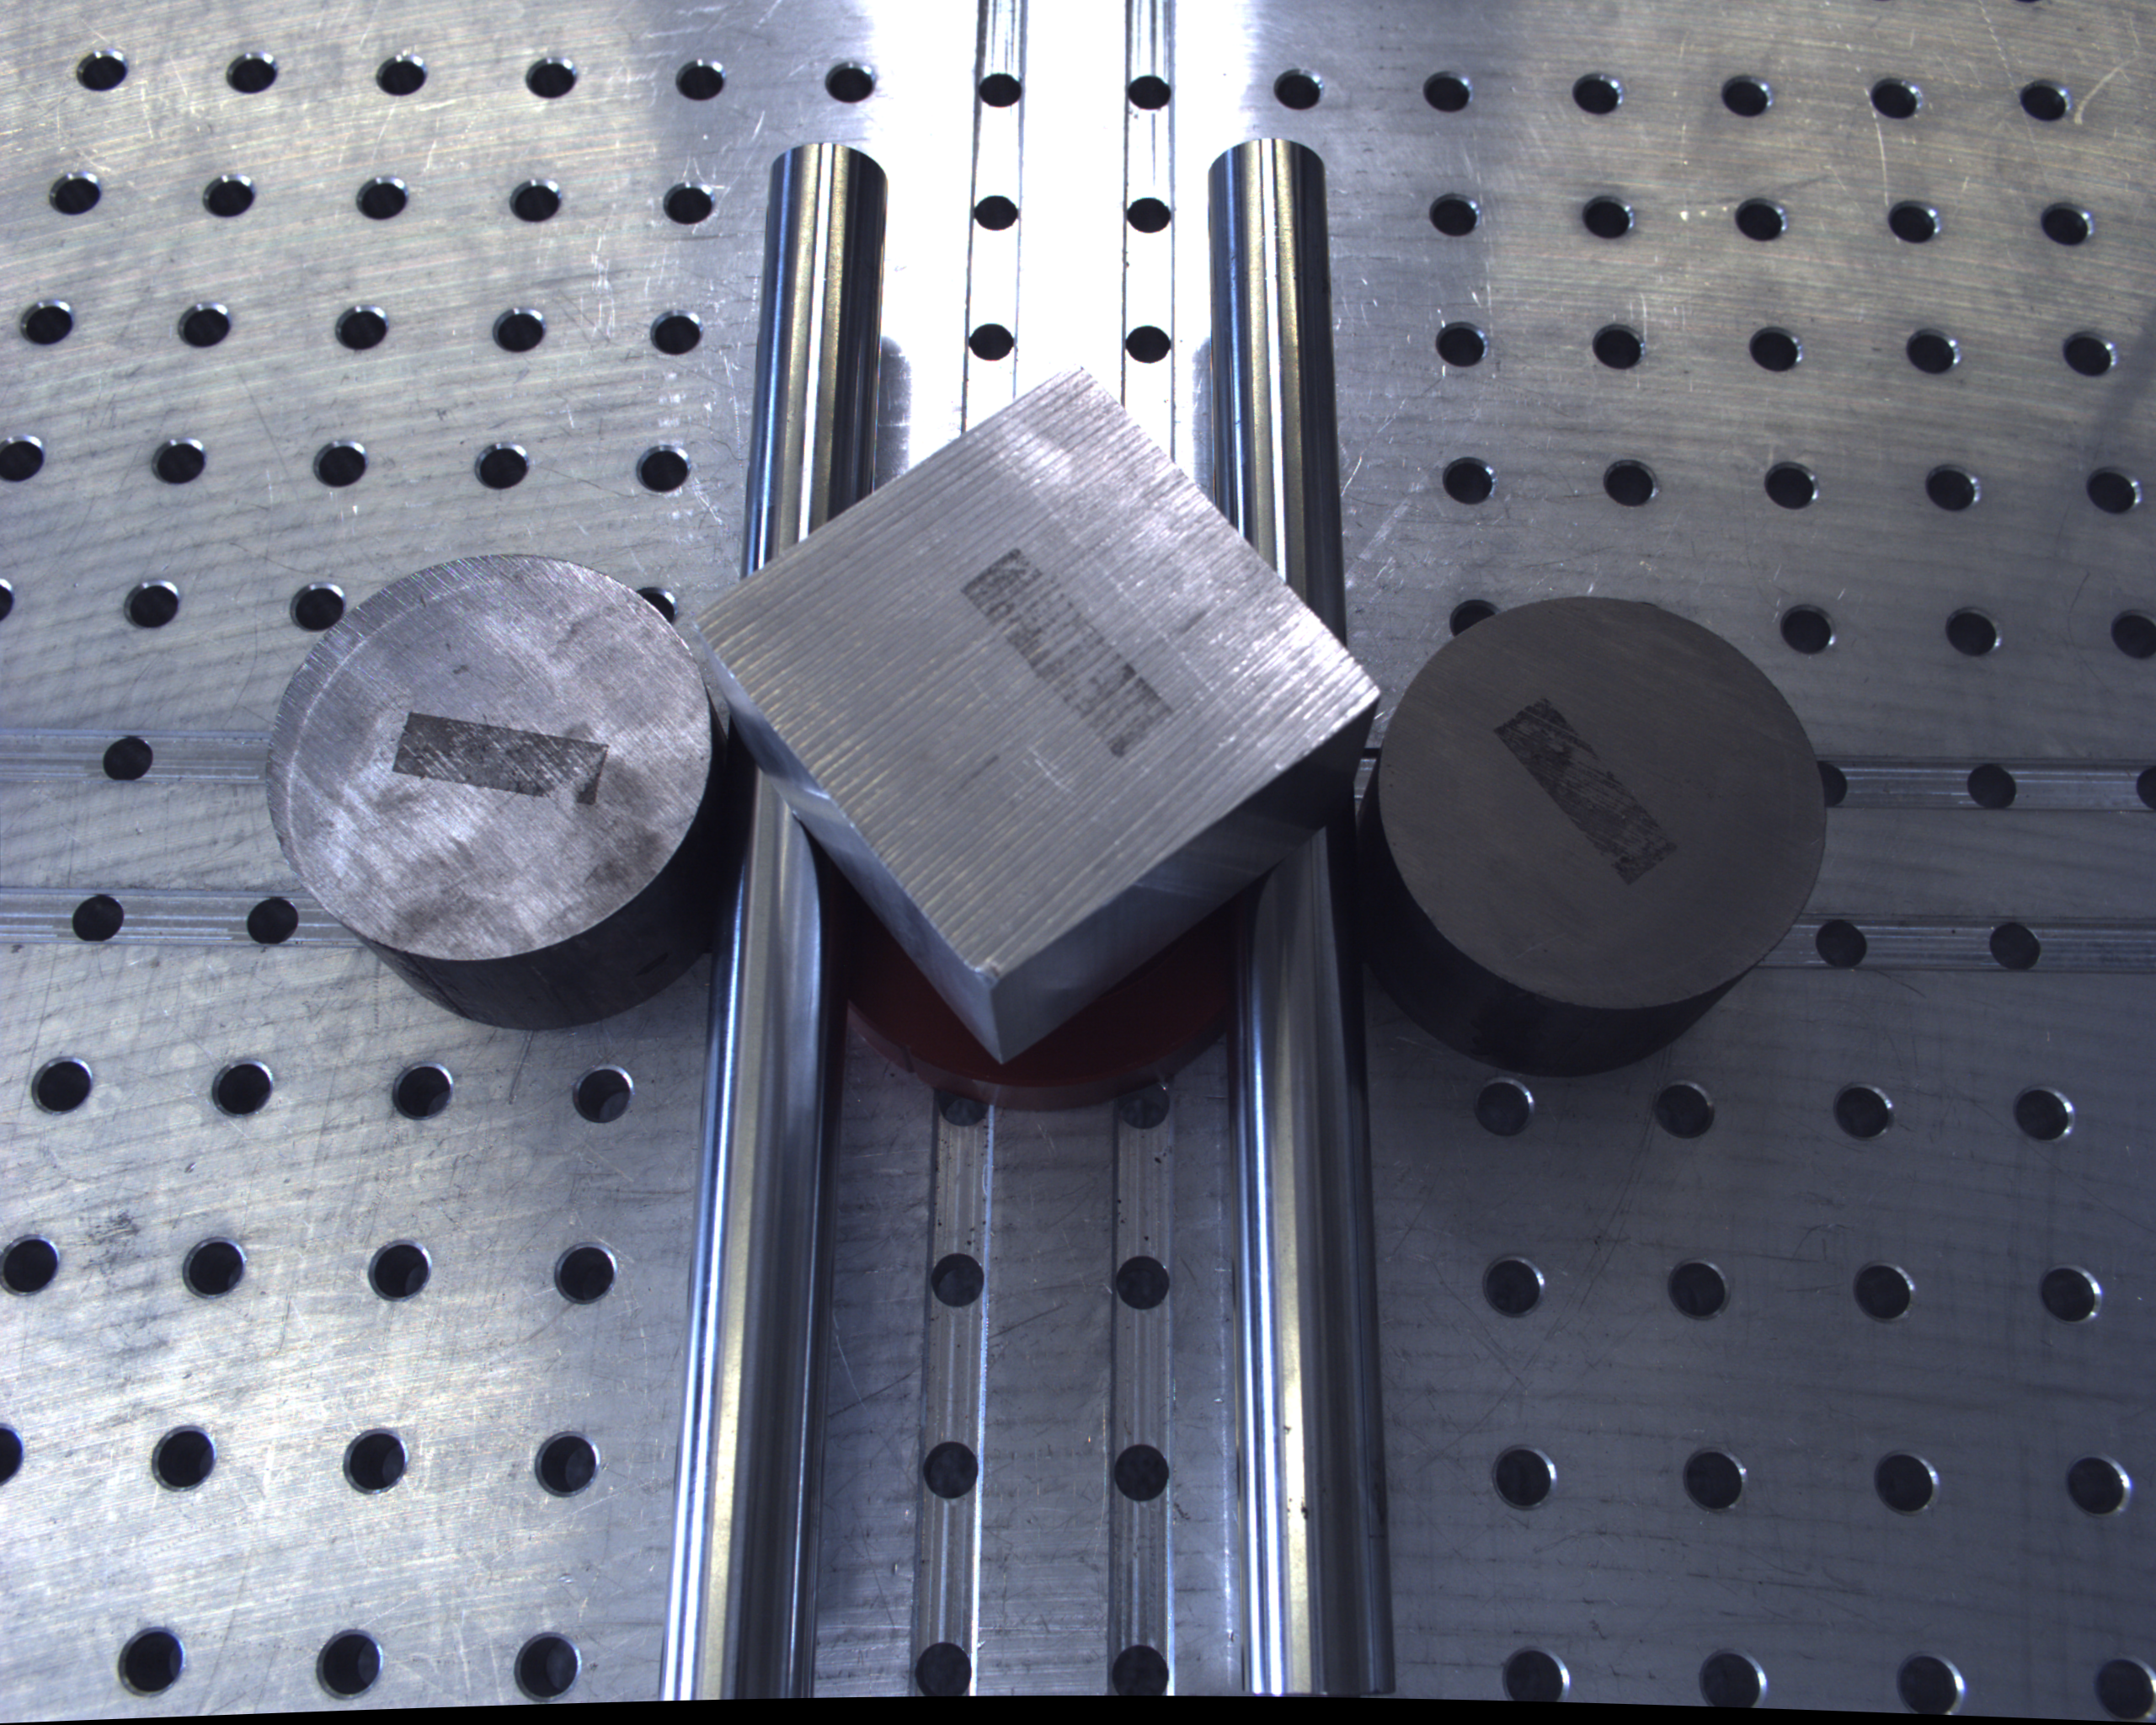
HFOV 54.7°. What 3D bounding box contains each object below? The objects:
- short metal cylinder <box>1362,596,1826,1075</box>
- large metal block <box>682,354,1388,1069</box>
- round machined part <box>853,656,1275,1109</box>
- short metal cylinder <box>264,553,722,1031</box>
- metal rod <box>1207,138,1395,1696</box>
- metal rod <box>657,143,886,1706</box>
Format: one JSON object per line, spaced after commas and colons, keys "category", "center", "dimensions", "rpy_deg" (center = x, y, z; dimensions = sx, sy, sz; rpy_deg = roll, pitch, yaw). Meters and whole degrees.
{"category": "short metal cylinder", "center": [0.094, -0.004, 0.400], "dimensions": [0.081, 0.050, 0.080], "rpy_deg": [0, 70, 0]}
{"category": "large metal block", "center": [-0.007, -0.025, 0.357], "dimensions": [0.080, 0.050, 0.080], "rpy_deg": [-36, 74, -12]}
{"category": "round machined part", "center": [-0.007, -0.004, 0.405], "dimensions": [0.099, 0.042, 0.098], "rpy_deg": [0, 70, 0]}
{"category": "short metal cylinder", "center": [-0.107, -0.012, 0.402], "dimensions": [0.081, 0.050, 0.080], "rpy_deg": [0, 70, 0]}
{"category": "metal rod", "center": [0.039, -0.005, 0.391], "dimensions": [0.025, 0.025, 0.299], "rpy_deg": [0, 70, 0]}
{"category": "metal rod", "center": [-0.054, -0.004, 0.390], "dimensions": [0.025, 0.025, 0.299], "rpy_deg": [1, 70, 0]}
